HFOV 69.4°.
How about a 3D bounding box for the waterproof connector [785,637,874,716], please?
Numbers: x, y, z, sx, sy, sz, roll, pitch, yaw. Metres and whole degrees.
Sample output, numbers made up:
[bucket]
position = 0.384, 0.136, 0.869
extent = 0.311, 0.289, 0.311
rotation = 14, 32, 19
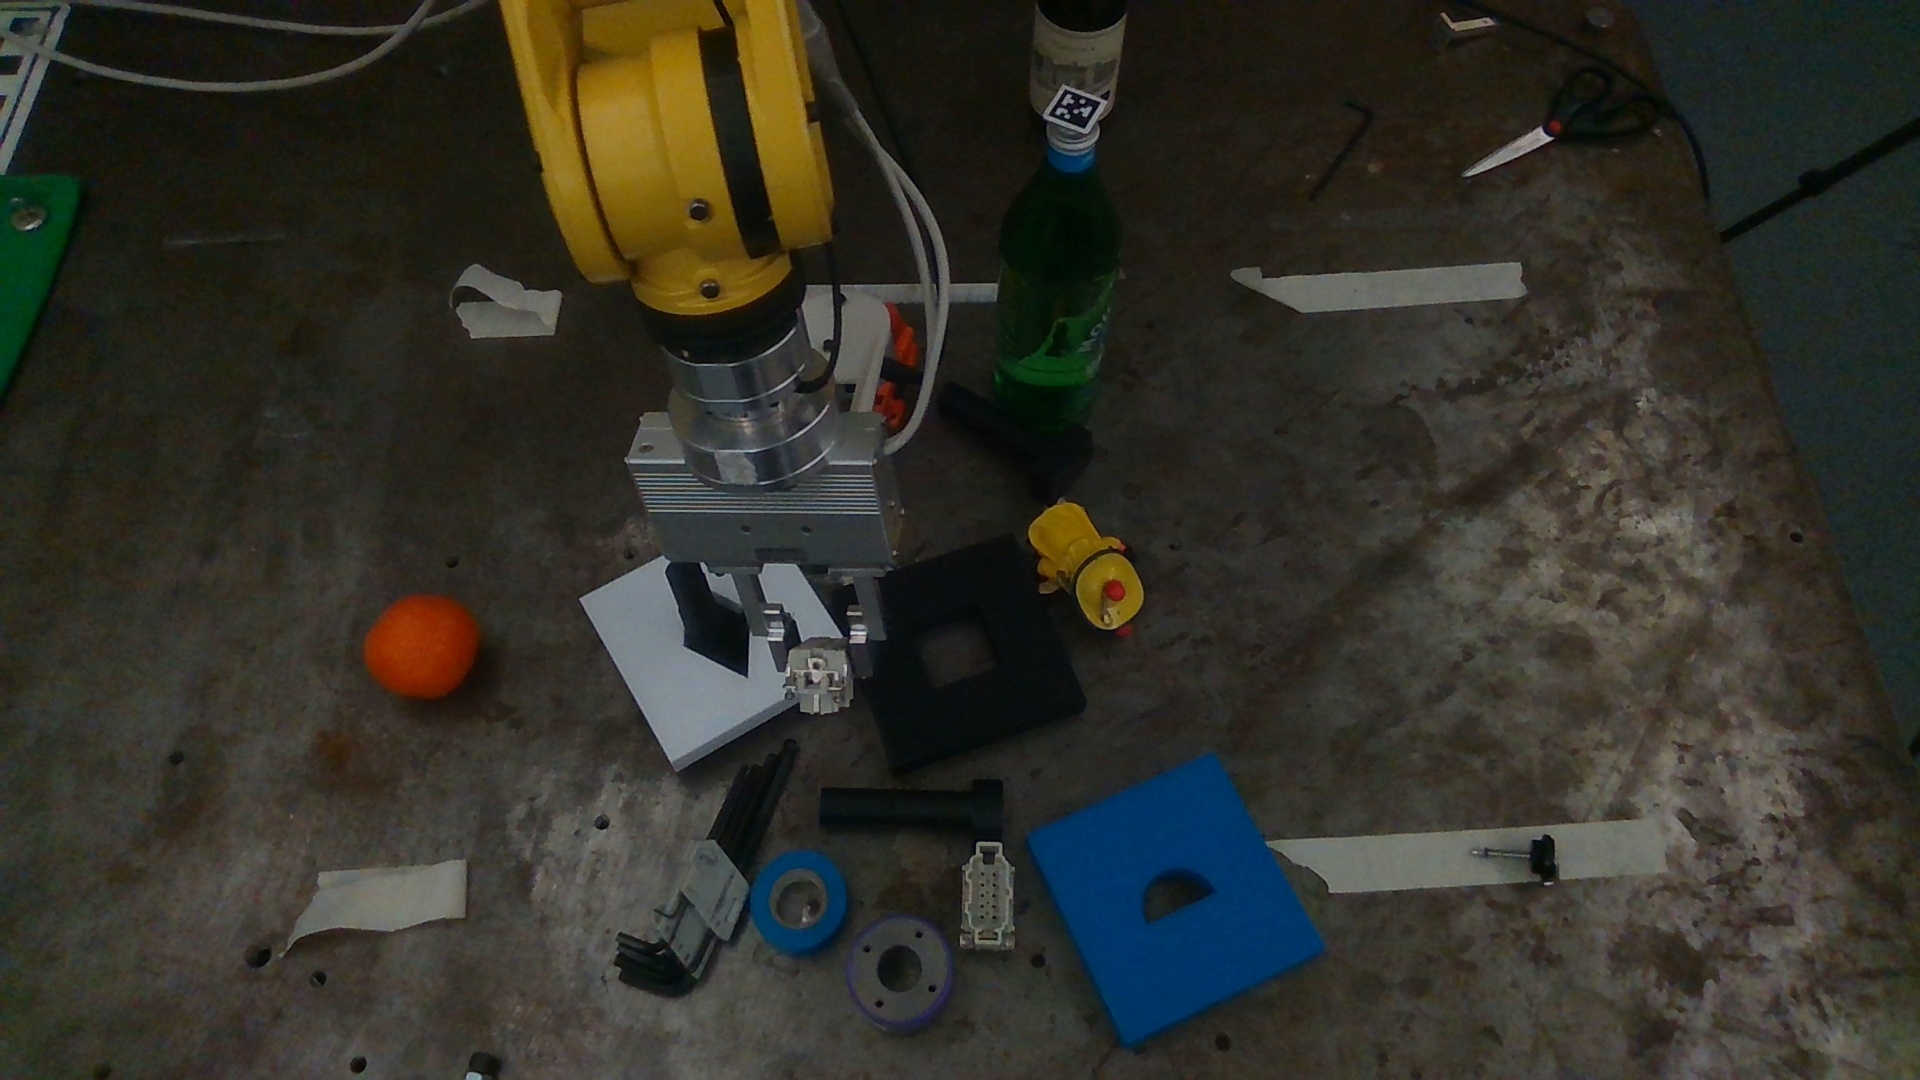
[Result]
[waterproof connector]
position = -0.076, 0.080, 0.818
extent = 0.037, 0.069, 0.038
rotation = -2, 94, 12
